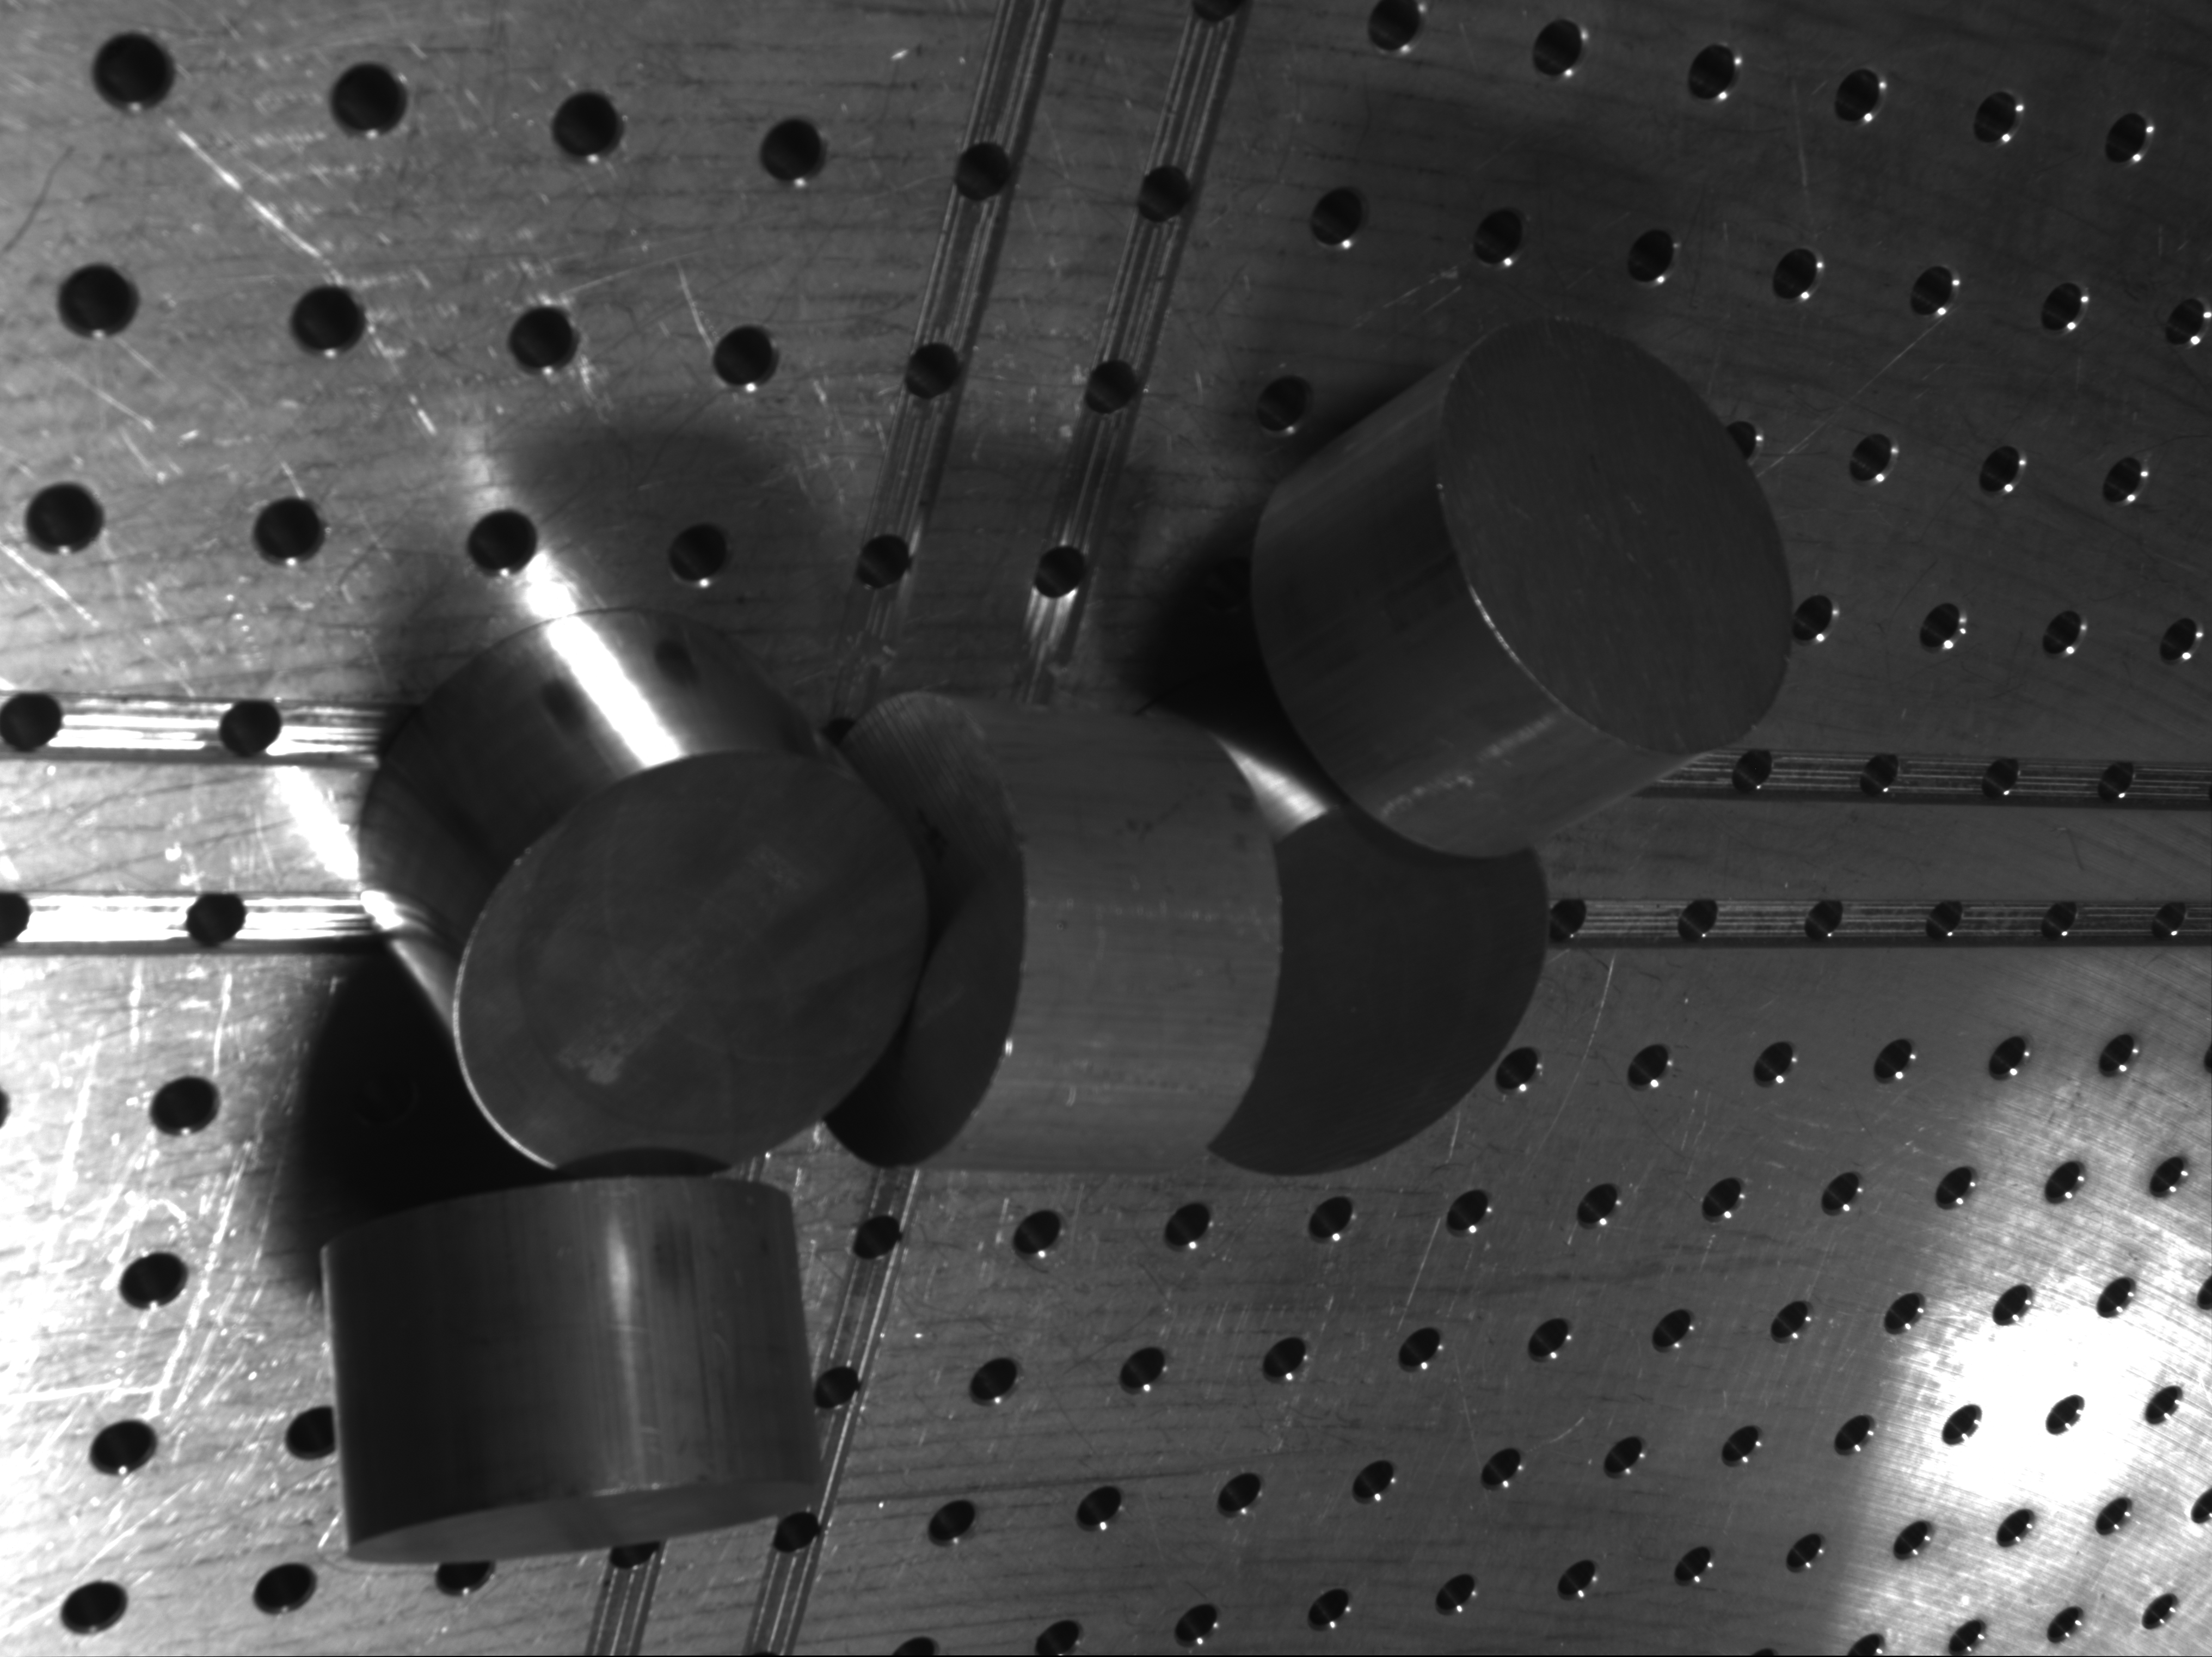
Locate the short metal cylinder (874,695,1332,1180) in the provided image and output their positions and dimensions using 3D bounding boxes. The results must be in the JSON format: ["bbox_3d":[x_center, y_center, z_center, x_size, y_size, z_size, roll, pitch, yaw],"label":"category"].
[{"bbox_3d":[-0.005,0.019,0.627,0.050,0.080,0.080,5,116,-32],"label":"short metal cylinder"}]

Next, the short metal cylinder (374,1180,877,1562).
[{"bbox_3d":[-0.082,0.093,0.621,0.080,0.050,0.080,-8,164,-2],"label":"short metal cylinder"}]

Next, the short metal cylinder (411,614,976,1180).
[{"bbox_3d":[-0.068,0.012,0.604,0.080,0.050,0.080,-15,125,-22],"label":"short metal cylinder"}]

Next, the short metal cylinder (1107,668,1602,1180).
[{"bbox_3d":[0.043,0.017,0.673,0.080,0.050,0.080,-15,125,-22],"label":"short metal cylinder"}]

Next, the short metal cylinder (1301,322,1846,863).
[{"bbox_3d":[0.081,-0.040,0.632,0.080,0.080,0.050,9,155,-34],"label":"short metal cylinder"}]
